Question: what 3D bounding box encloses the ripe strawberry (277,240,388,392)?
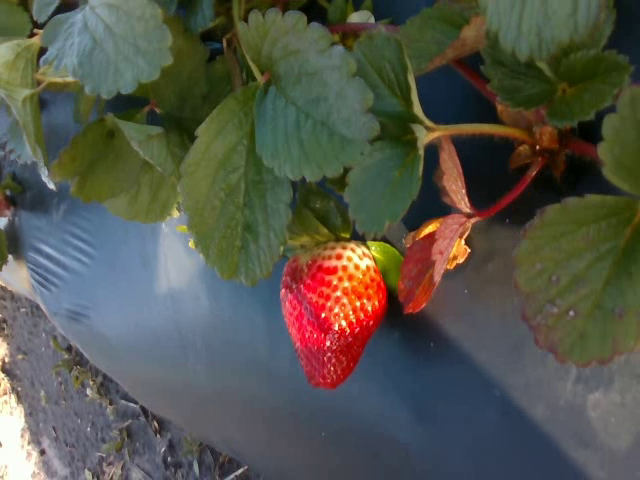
[{"bbox_3d":[0.002,0.025,0.198,0.040,0.056,0.041,11,-24,-13],"label":"ripe strawberry"}]
